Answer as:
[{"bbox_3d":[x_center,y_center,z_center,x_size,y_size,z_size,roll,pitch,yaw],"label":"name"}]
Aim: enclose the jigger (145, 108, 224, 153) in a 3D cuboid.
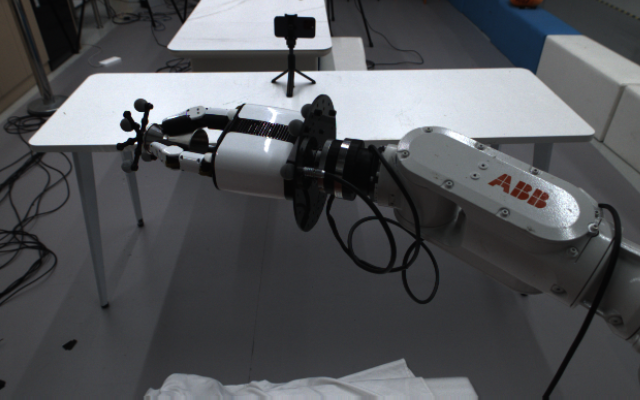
[{"bbox_3d":[-0.179,-0.074,0.608,0.071,0.043,0.043,10,36,15],"label":"jigger"}]
